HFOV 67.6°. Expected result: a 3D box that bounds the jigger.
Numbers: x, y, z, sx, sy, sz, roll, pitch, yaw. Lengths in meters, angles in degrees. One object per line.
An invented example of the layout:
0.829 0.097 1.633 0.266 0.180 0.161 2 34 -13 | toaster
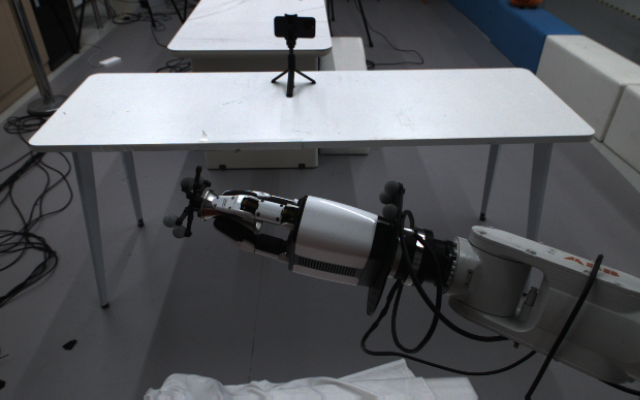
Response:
-0.097 0.011 0.582 0.071 0.043 0.043 13 36 4 | jigger
